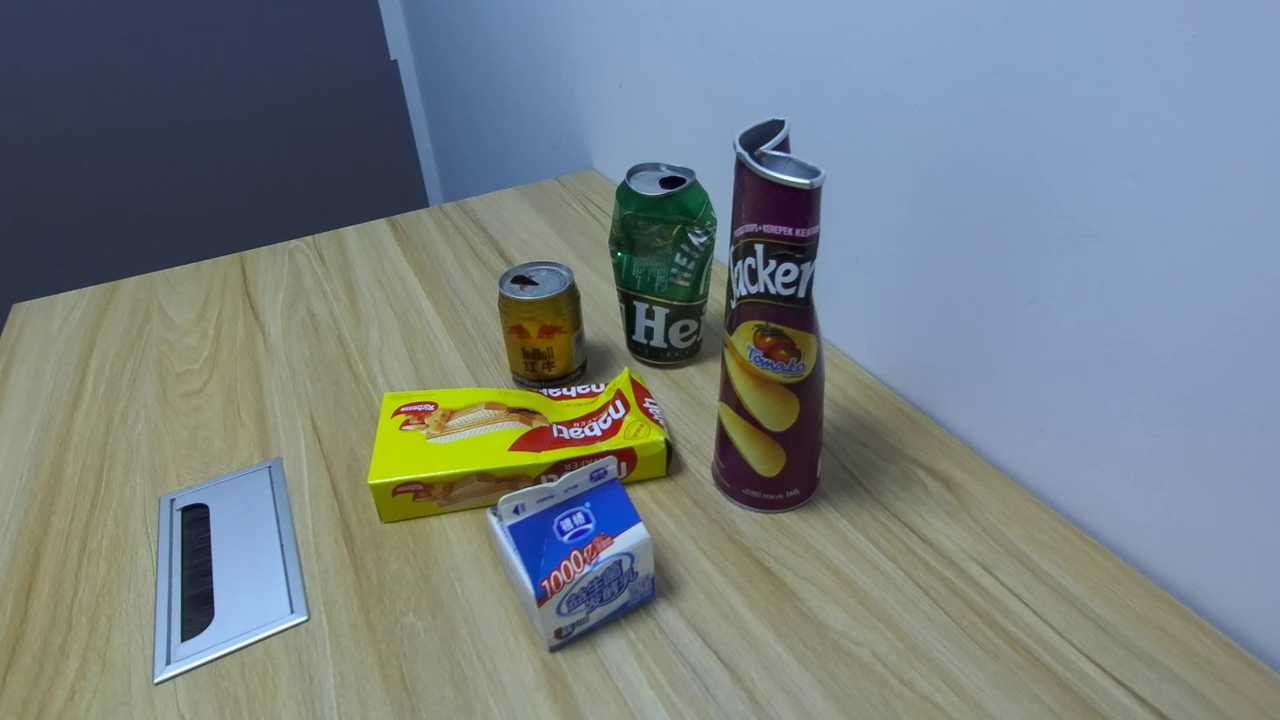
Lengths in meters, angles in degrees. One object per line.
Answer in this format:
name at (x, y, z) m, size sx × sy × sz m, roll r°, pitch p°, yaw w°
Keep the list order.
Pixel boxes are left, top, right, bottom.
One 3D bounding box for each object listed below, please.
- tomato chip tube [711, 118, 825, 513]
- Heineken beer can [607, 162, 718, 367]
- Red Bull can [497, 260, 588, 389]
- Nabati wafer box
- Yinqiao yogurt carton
tomato chip tube at (0.084, -0.015, 0.428) m, size 0.076 × 0.235 × 0.078 m, roll 27°, pitch 45°, yaw 35°
Heineken beer can at (0.018, -0.074, 0.575) m, size 0.066 × 0.164 × 0.077 m, roll -16°, pitch 39°, yaw -16°
Red Bull can at (-0.080, -0.026, 0.582) m, size 0.067 × 0.093 × 0.067 m, roll -2°, pitch 36°, yaw 2°
Nabati wafer box at (-0.084, 0.053, 0.515) m, size 0.204 × 0.042 × 0.106 m, roll -7°, pitch 37°, yaw -7°
Yinqiao yogurt carton at (-0.040, 0.098, 0.406) m, size 0.076 × 0.092 × 0.073 m, roll -21°, pitch 39°, yaw -23°
